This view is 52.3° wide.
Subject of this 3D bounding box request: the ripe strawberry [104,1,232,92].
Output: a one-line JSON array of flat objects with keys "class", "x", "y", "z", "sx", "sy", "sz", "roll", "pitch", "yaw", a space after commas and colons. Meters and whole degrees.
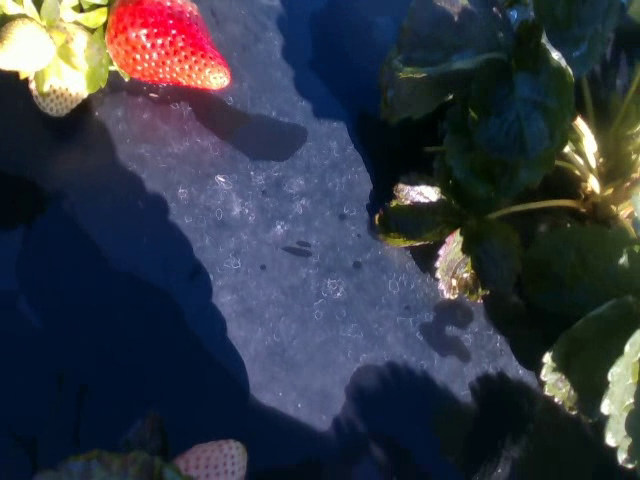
[{"class": "ripe strawberry", "x": -0.059, "y": -0.079, "z": 0.268, "sx": 0.064, "sy": 0.050, "sz": 0.052, "roll": 33, "pitch": 12, "yaw": 10}]
